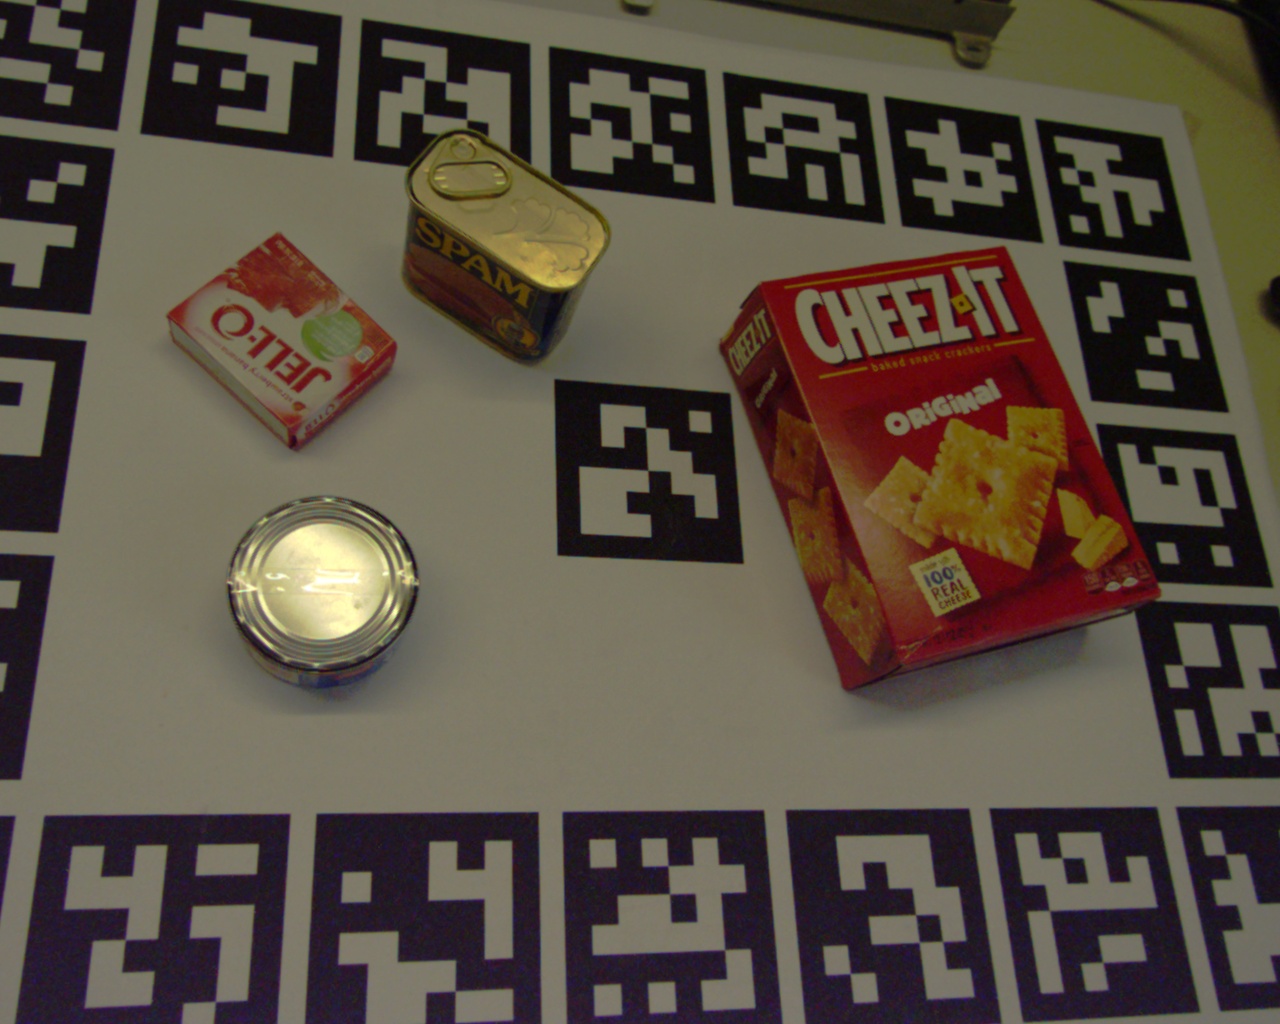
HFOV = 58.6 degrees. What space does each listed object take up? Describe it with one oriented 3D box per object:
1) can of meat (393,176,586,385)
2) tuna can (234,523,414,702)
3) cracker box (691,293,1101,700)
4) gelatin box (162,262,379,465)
[{"bbox_3d":[-0.090,-0.127,0.648,0.102,0.084,0.057,30,63,-1],"label":"can of meat"},{"bbox_3d":[-0.158,0.051,0.572,0.085,0.034,0.086,4,70,-13],"label":"tuna can"},{"bbox_3d":[0.148,-0.017,0.673,0.163,0.072,0.215,-14,71,-22],"label":"cracker box"},{"bbox_3d":[-0.200,-0.082,0.620,0.089,0.030,0.073,42,61,1],"label":"gelatin box"}]
